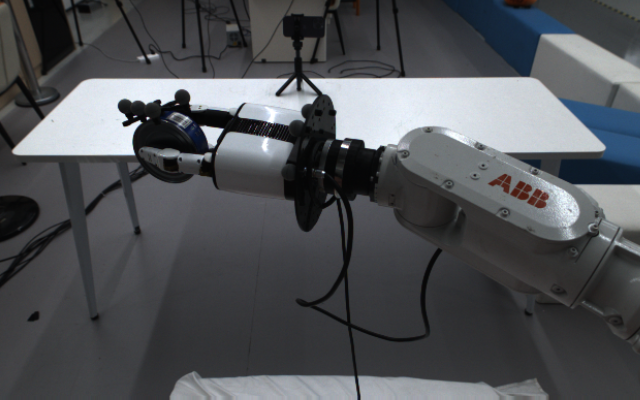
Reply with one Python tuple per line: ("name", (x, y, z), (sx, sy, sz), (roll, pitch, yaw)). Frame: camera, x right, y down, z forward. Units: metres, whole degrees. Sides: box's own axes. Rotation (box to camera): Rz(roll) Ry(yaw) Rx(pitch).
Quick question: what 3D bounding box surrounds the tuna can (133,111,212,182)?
("tuna can", (-0.180, -0.063, 0.596), (0.085, 0.085, 0.034), (9, 32, 10))
